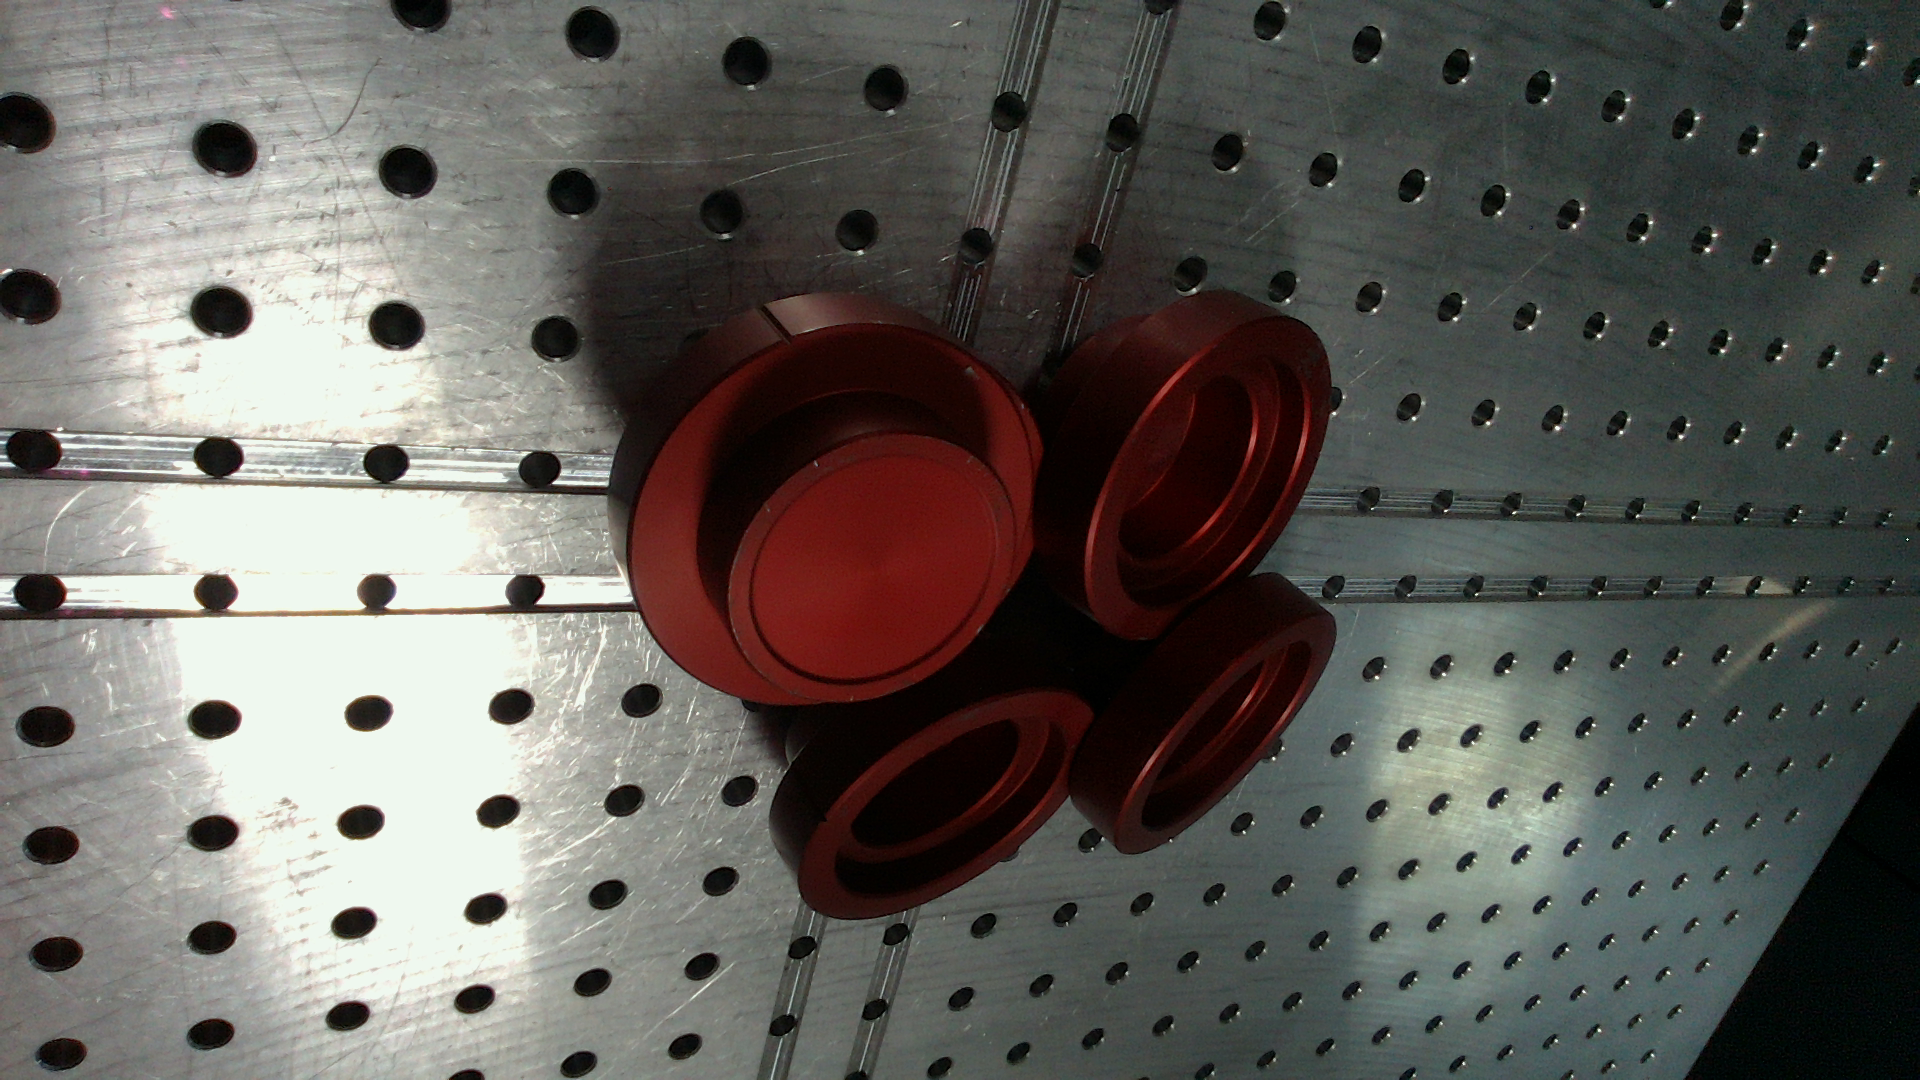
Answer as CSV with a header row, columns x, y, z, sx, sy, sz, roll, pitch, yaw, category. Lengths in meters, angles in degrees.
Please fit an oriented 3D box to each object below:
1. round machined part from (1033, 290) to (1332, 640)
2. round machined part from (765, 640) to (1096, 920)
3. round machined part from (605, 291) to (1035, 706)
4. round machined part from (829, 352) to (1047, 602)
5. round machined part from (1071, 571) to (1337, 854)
x,y,z,sx,sy,sz,roll,pitch,yaw,category
0.056,-0.024,0.385,0.098,0.042,0.098,-27,136,-30,round machined part
-0.012,0.063,0.402,0.098,0.042,0.098,-24,144,-18,round machined part
-0.026,-0.003,0.311,0.098,0.042,0.098,-14,124,-21,round machined part
-0.030,-0.013,0.356,0.098,0.042,0.098,-14,124,-21,round machined part
0.070,0.048,0.433,0.098,0.042,0.098,-34,149,-24,round machined part
